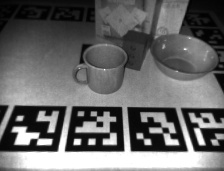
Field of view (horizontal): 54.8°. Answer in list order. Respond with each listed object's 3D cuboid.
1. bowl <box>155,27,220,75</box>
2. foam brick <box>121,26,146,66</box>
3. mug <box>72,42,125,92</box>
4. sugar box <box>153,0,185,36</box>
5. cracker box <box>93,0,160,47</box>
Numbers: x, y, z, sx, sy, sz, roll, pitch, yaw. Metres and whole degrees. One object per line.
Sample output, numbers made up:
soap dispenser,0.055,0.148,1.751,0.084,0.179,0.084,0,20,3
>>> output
bowl,0.173,-0.075,0.518,0.162,0.055,0.161,2,47,-2
foam brick,0.050,-0.097,0.535,0.052,0.078,0.051,11,46,9
mug,-0.031,-0.039,0.458,0.117,0.082,0.092,-7,39,-7
sugar box,0.146,-0.215,0.580,0.092,0.177,0.045,15,47,13
cracker box,0.036,-0.219,0.552,0.163,0.214,0.072,23,47,17
